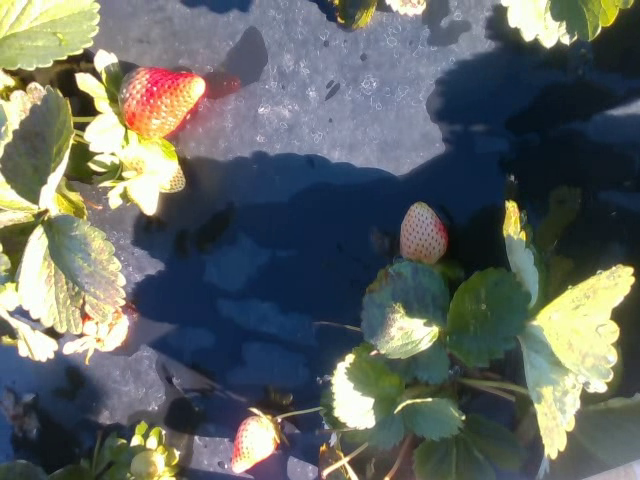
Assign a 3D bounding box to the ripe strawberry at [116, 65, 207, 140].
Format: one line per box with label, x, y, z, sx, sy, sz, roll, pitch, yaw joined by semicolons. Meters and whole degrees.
ripe strawberry;-0.090;-0.086;0.364;0.064;0.052;0.050;-17;-42;26
